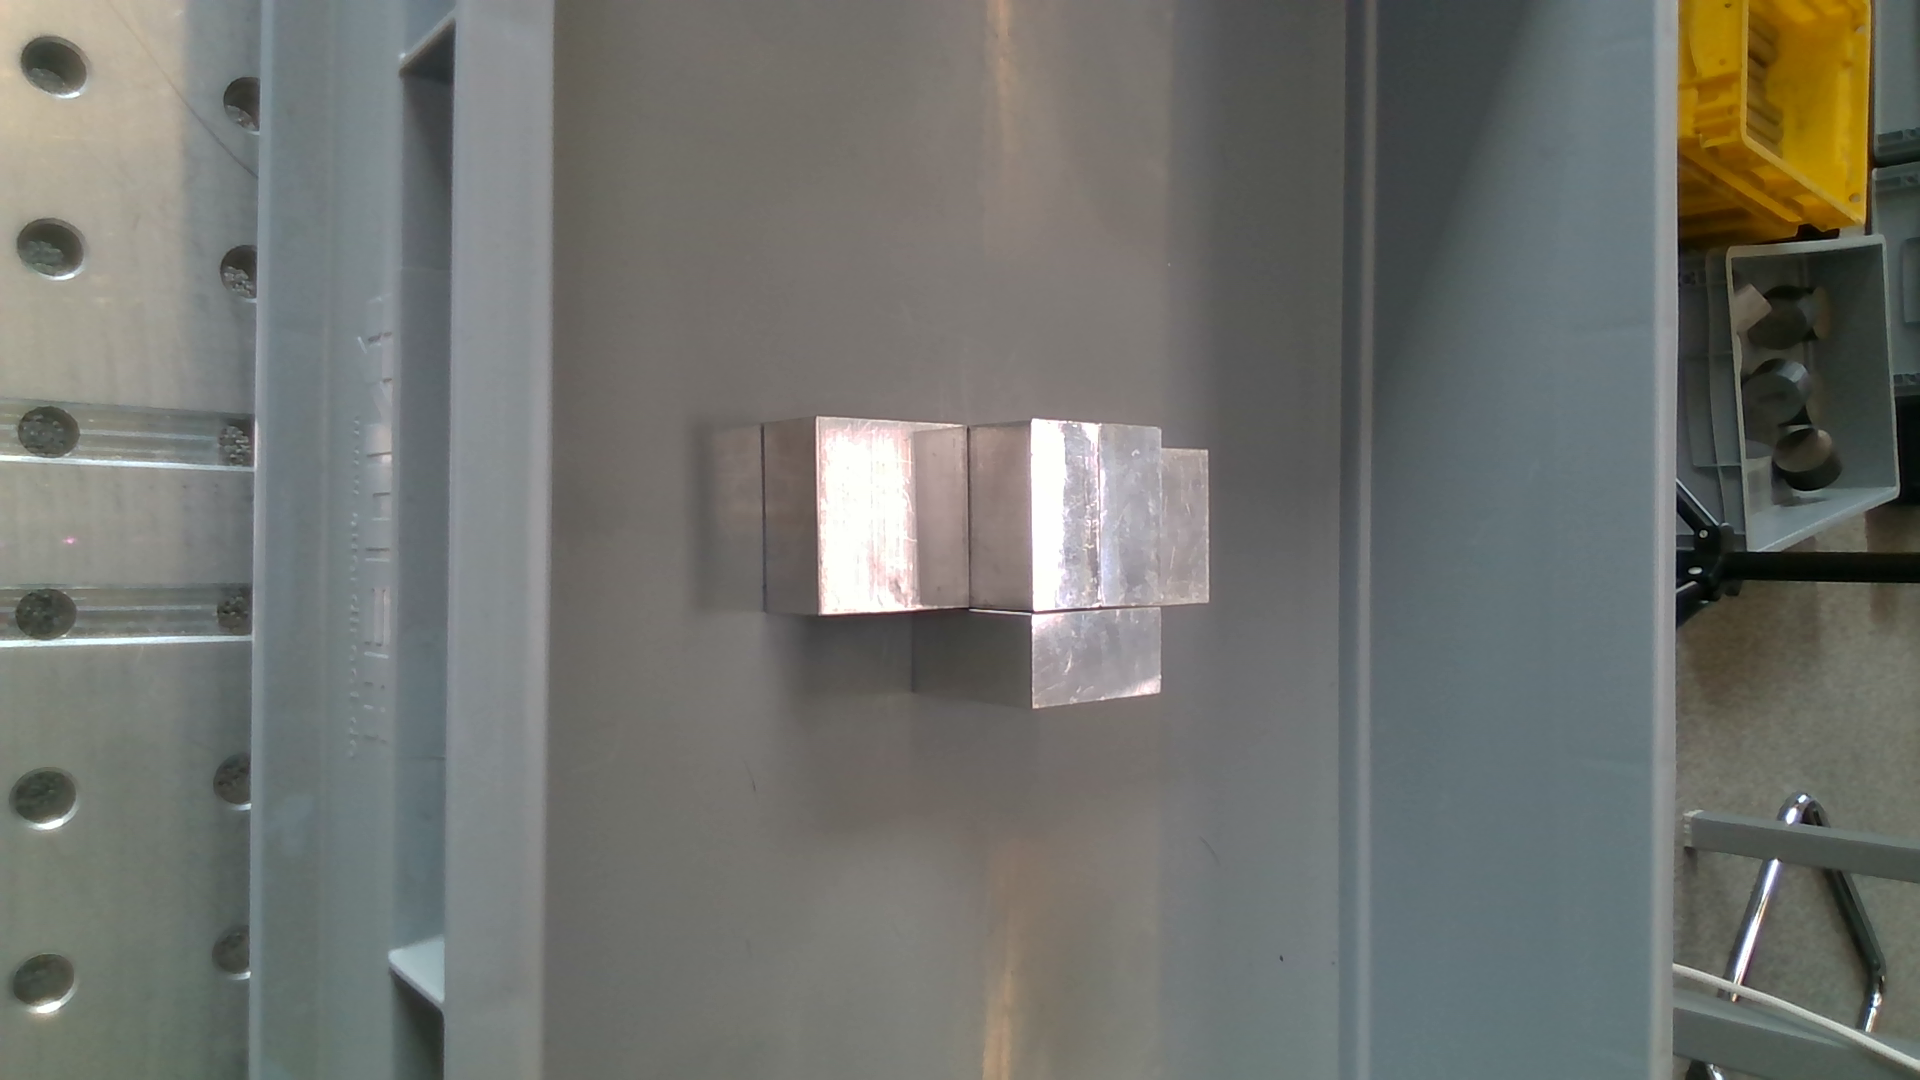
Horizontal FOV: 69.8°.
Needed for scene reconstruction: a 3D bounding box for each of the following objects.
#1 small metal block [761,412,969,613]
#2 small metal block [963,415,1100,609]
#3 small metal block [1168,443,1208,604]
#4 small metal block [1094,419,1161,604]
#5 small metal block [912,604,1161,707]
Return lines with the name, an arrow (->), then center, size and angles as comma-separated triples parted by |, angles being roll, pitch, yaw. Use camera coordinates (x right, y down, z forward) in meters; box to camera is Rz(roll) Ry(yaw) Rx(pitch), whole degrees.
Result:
small metal block -> -0.025, -0.007, 0.368 | 0.050, 0.025, 0.050 | 0, 90, -40
small metal block -> 0.012, -0.007, 0.383 | 0.025, 0.050, 0.050 | 0, 90, -40
small metal block -> 0.052, -0.005, 0.433 | 0.050, 0.025, 0.050 | 0, 90, -40
small metal block -> 0.031, -0.008, 0.400 | 0.025, 0.050, 0.050 | 0, 90, -40
small metal block -> 0.021, 0.031, 0.391 | 0.050, 0.050, 0.025 | 0, 90, -40
